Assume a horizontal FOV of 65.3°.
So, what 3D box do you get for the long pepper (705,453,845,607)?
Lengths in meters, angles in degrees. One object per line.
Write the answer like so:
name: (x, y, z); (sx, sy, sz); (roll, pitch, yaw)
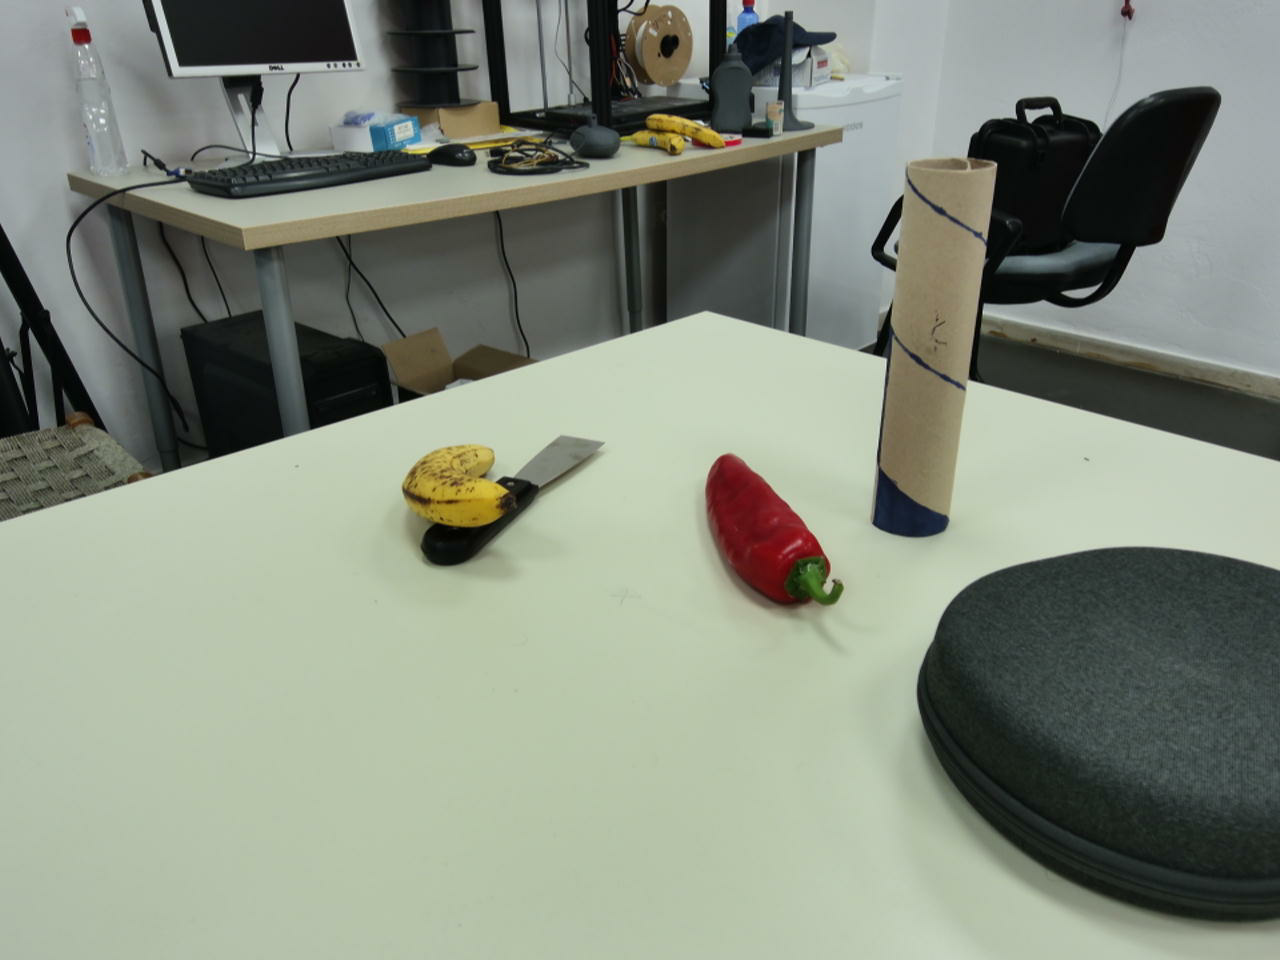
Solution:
long pepper: (0.072, 0.027, 0.609); (0.050, 0.043, 0.211); (-4, 25, -9)
